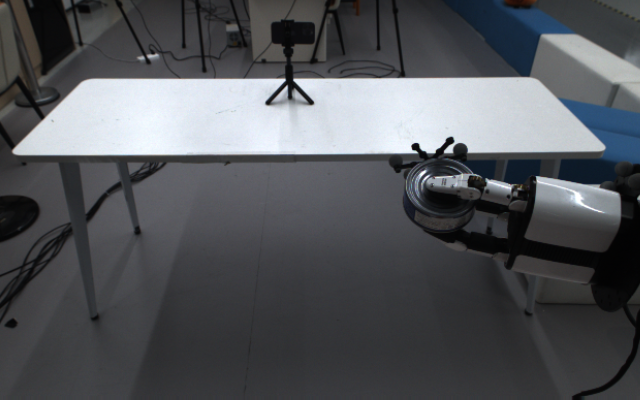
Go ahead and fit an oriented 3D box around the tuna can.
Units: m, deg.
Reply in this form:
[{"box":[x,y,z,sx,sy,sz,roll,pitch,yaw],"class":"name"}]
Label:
[{"box":[0.143,-0.008,0.565,0.085,0.034,0.085,-3,59,5],"class":"tuna can"}]
